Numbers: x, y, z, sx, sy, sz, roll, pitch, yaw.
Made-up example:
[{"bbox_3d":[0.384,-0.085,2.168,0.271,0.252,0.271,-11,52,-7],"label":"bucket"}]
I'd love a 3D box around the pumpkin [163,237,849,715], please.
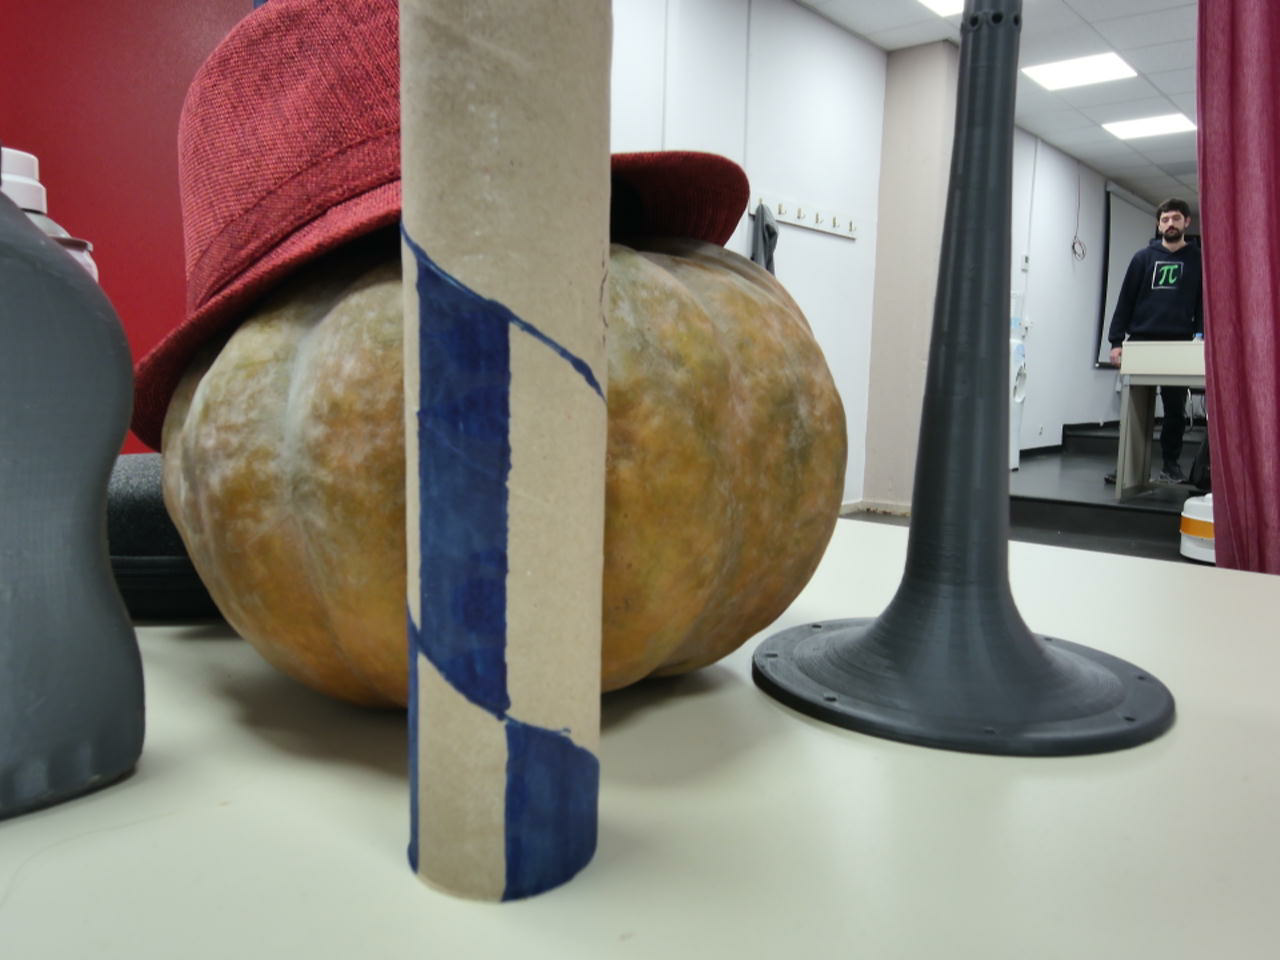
[{"bbox_3d":[-0.048,-0.009,0.382,0.252,0.168,0.252,1,4,0],"label":"pumpkin"}]
